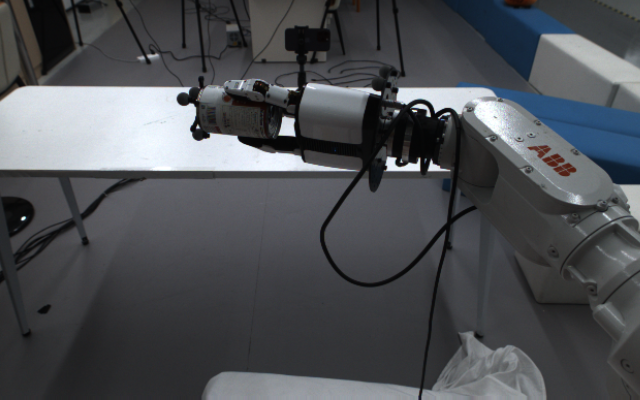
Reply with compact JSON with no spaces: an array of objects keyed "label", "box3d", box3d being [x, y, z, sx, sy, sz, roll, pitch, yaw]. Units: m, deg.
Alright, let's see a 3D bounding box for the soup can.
[{"label":"soup can","box3d":[-0.108,-0.121,0.667,0.101,0.067,0.067,7,35,10]}]
